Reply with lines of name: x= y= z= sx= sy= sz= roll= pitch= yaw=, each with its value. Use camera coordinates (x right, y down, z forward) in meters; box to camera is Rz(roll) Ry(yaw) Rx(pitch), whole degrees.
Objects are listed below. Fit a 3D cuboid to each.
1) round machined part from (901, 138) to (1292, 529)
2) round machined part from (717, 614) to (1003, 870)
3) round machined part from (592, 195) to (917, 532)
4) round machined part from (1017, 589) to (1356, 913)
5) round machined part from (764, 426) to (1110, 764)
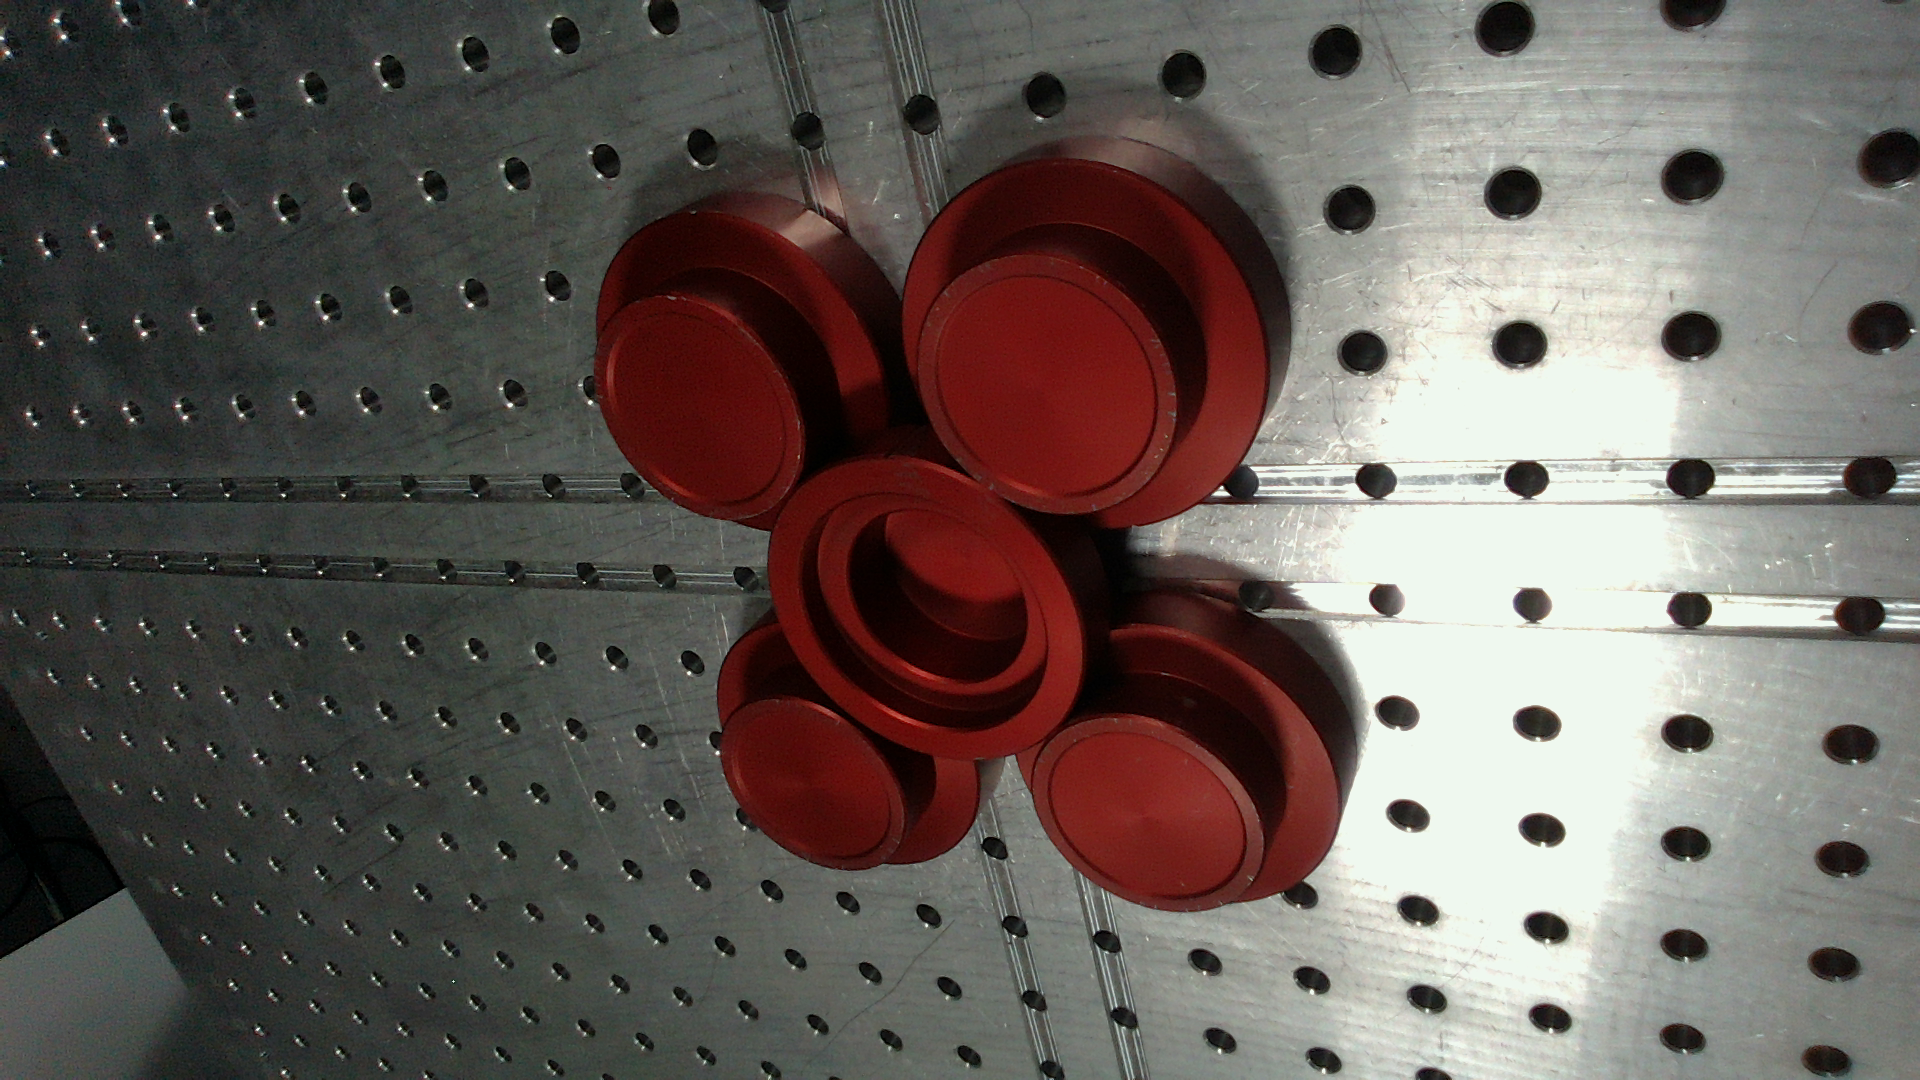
round machined part: x=0.029 y=-0.045 z=0.341 sx=0.098 sy=0.042 sz=0.098 roll=13 pitch=124 yaw=21
round machined part: x=-0.038 y=0.067 z=0.448 sx=0.098 sy=0.042 sz=0.098 roll=13 pitch=124 yaw=21
round machined part: x=-0.064 y=-0.045 z=0.391 sx=0.098 sy=0.042 sz=0.098 roll=13 pitch=124 yaw=21
round machined part: x=0.060 y=0.066 z=0.393 sx=0.098 sy=0.042 sz=0.098 roll=13 pitch=124 yaw=21
round machined part: x=-0.003 y=0.012 z=0.392 sx=0.098 sy=0.042 sz=0.098 roll=13 pitch=124 yaw=21
